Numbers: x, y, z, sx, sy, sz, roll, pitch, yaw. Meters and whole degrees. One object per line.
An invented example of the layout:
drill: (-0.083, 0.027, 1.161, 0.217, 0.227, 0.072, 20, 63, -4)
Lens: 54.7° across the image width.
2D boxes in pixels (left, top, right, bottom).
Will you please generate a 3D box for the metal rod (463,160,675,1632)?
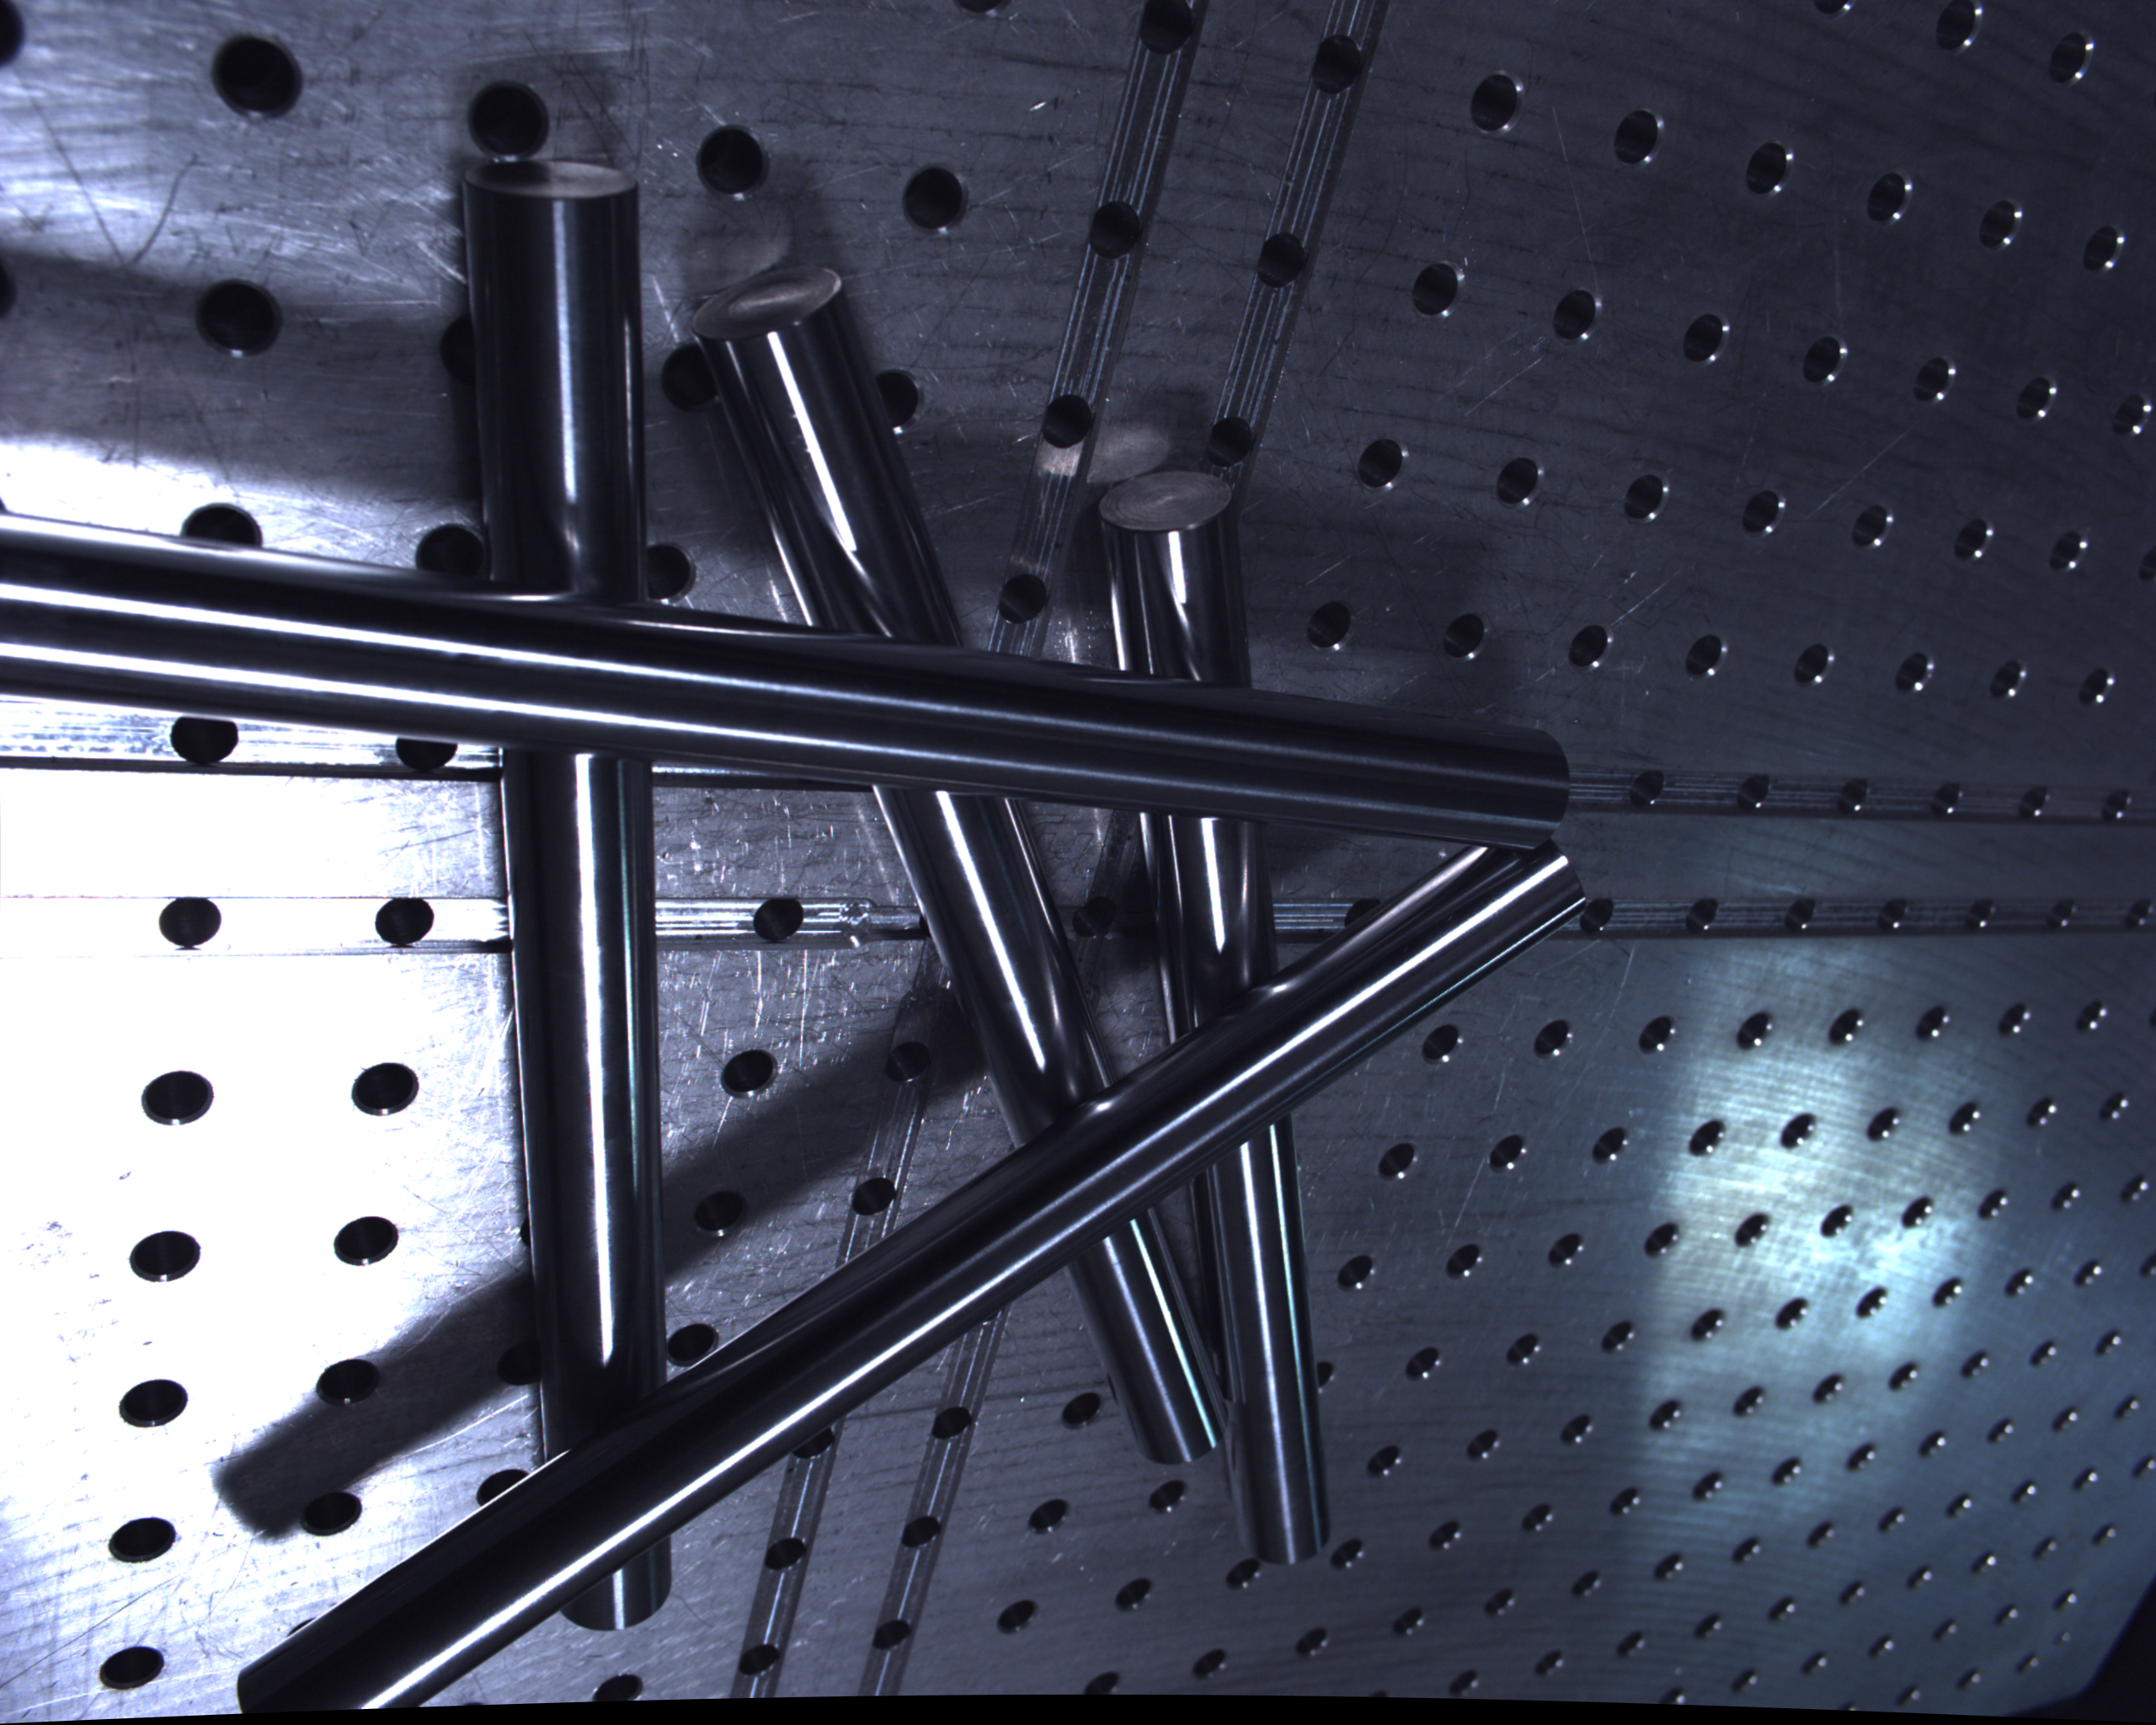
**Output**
metal rod: (-0.089, 0.028, 0.380, 0.025, 0.025, 0.298, -9, 123, -24)

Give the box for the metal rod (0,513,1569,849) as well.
metal rod: (-0.039, -0.026, 0.343, 0.302, 0.025, 0.025, 5, 116, -31)

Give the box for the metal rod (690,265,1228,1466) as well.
metal rod: (-0.012, 0.024, 0.420, 0.025, 0.025, 0.299, -27, 128, -12)

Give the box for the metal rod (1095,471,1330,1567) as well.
metal rod: (0.035, 0.055, 0.466, 0.025, 0.025, 0.298, -21, 127, -16)

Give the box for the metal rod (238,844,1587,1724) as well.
metal rod: (-0.027, 0.082, 0.416, 0.301, 0.025, 0.025, -33, 129, -7)
